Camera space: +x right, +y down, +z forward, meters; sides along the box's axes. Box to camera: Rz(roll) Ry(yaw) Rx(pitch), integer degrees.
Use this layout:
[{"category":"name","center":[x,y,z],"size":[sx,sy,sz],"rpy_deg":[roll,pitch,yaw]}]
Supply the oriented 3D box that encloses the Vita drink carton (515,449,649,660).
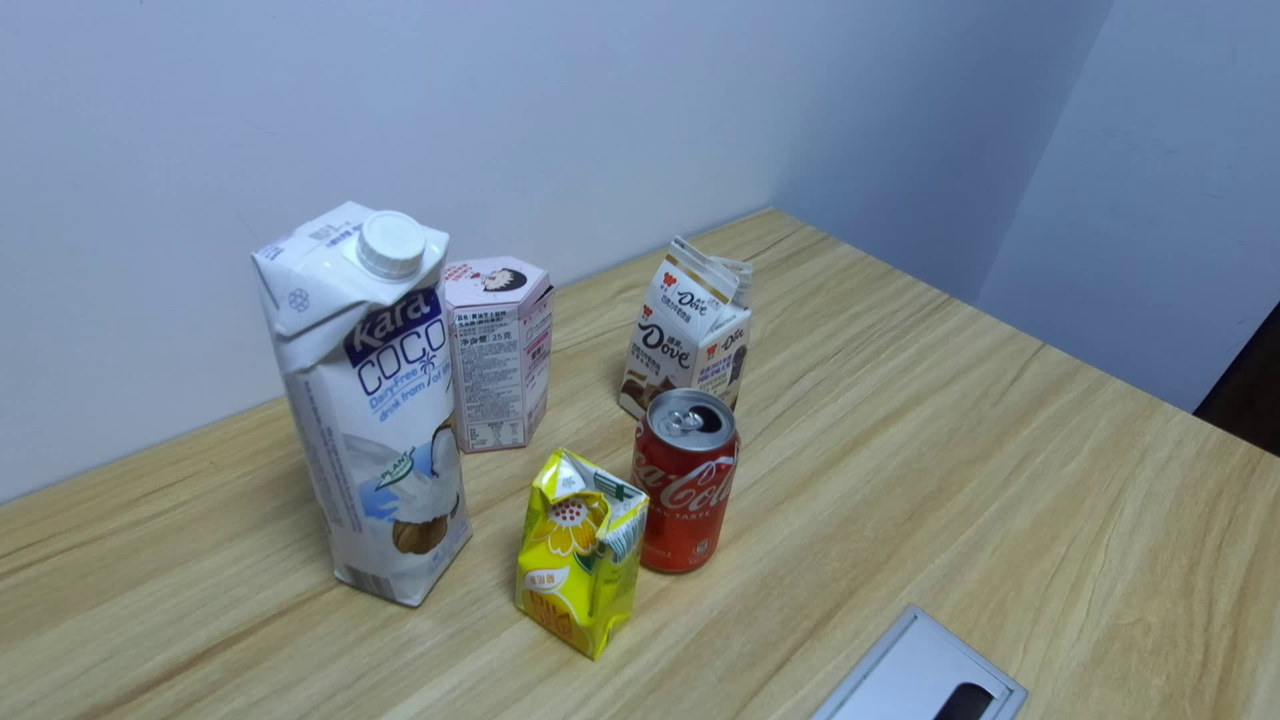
[{"category":"Vita drink carton","center":[-0.038,0.116,0.416],"size":[0.071,0.110,0.046],"rpy_deg":[24,39,24]}]

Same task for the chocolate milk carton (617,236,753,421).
[{"category":"chocolate milk carton","center":[0.037,-0.019,0.555],"size":[0.084,0.155,0.073],"rpy_deg":[34,45,31]}]

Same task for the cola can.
[{"category":"cola can","center":[0.027,0.079,0.462],"size":[0.068,0.120,0.067],"rpy_deg":[4,38,-3]}]

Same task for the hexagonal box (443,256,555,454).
[{"category":"hexagonal box","center":[-0.115,-0.005,0.540],"size":[0.085,0.135,0.092],"rpy_deg":[14,38,11]}]

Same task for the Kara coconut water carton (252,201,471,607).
[{"category":"Kara coconut water carton","center":[-0.143,0.029,0.399],"size":[0.071,0.244,0.100],"rpy_deg":[16,39,12]}]
